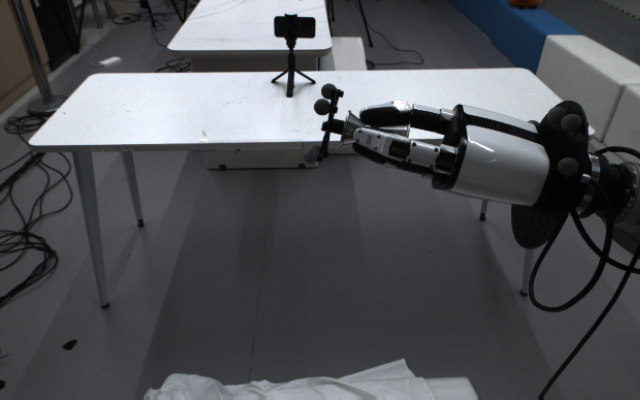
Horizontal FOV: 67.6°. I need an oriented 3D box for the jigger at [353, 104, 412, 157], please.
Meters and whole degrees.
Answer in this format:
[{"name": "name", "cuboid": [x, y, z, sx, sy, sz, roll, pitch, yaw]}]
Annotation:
[{"name": "jigger", "cuboid": [0.066, -0.072, 0.525, 0.071, 0.043, 0.043, 14, 36, 4]}]
